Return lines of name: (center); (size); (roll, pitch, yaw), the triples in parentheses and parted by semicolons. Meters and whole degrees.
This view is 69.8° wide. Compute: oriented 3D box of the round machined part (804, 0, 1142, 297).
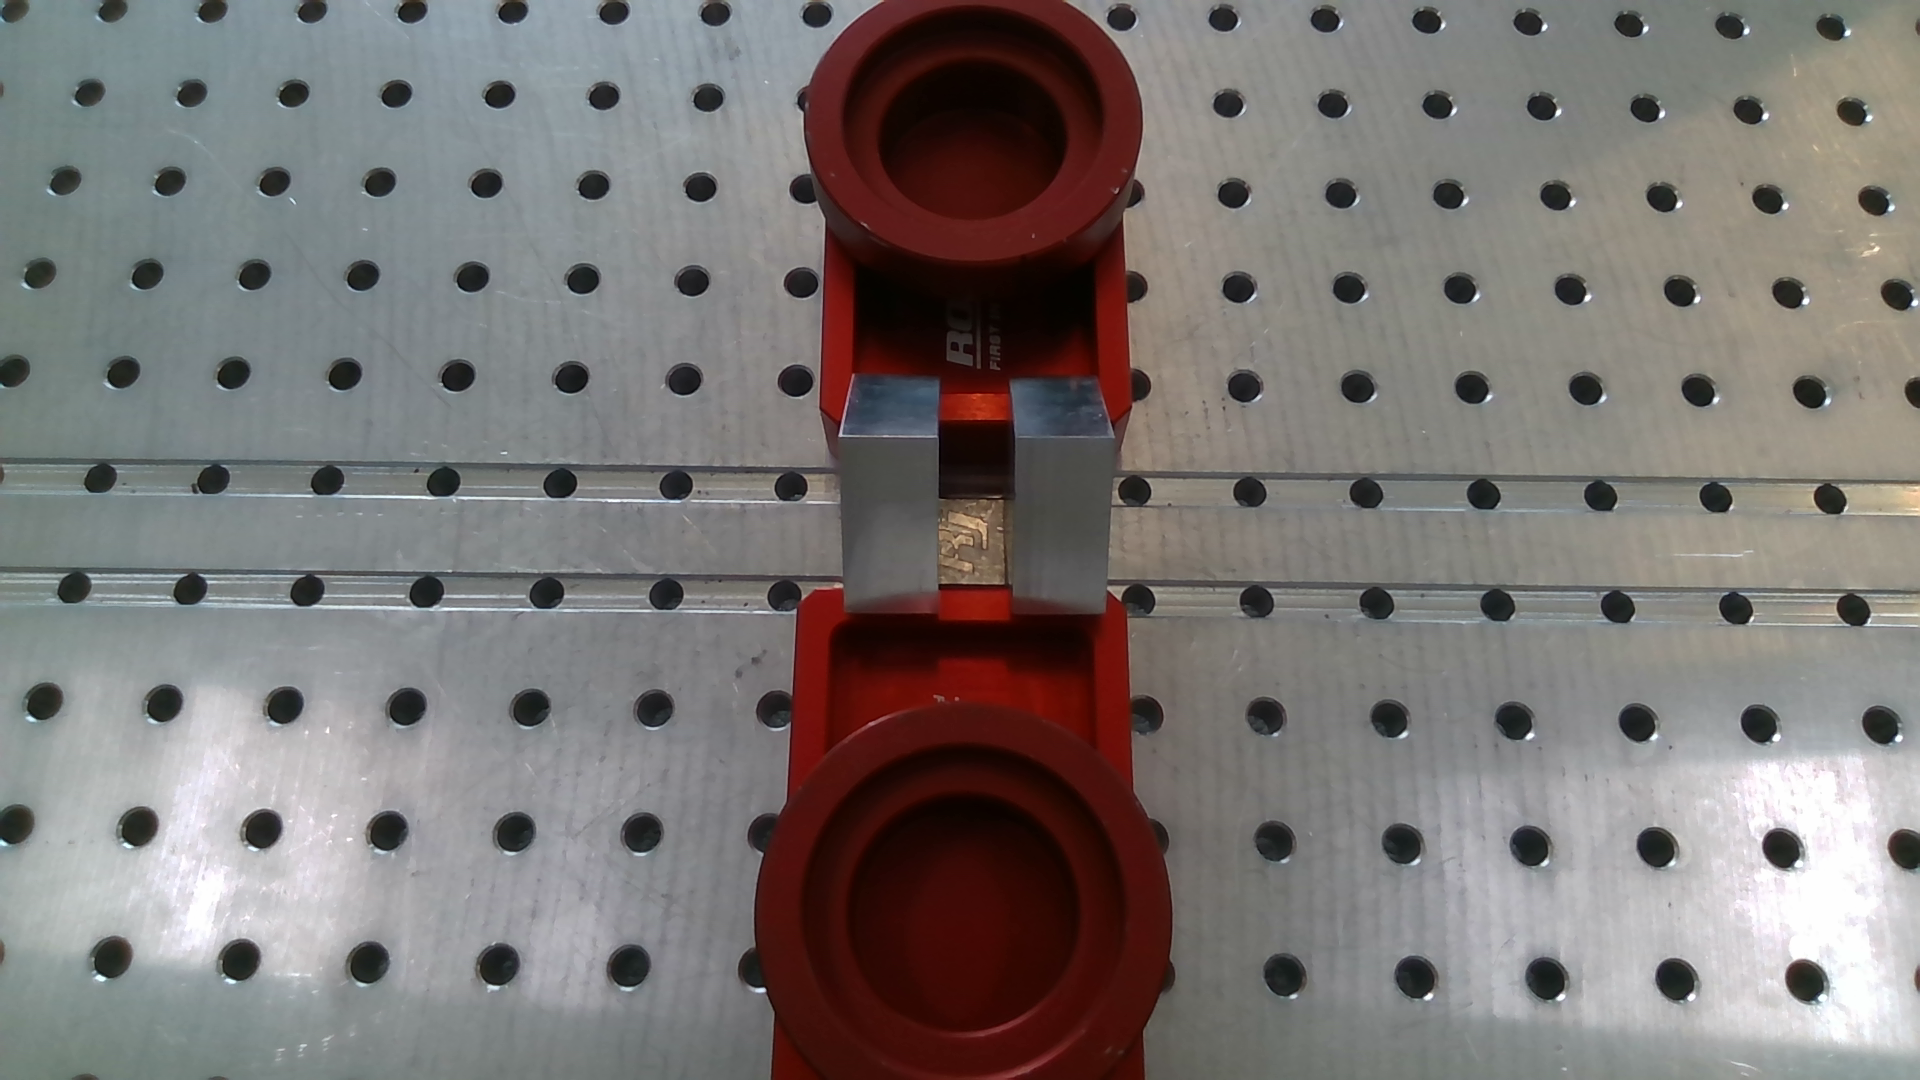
round machined part: (0.004, -0.116, 0.417); (0.098, 0.042, 0.098); (0, 70, 0)

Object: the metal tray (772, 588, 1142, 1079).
metal tray: (0.000, 0.079, 0.368); (0.090, 0.030, 0.130); (0, 71, 0)

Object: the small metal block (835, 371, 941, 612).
small metal block: (-0.018, -0.014, 0.374); (0.025, 0.050, 0.050); (1, 26, 0)

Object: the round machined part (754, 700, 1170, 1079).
round machined part: (0.001, 0.092, 0.343); (0.098, 0.042, 0.098); (0, 70, 0)

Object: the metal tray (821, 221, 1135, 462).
metal tray: (0.005, -0.090, 0.428); (0.090, 0.030, 0.130); (-1, 70, 2)

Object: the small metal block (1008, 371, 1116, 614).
small metal block: (0.026, -0.014, 0.375); (0.025, 0.050, 0.050); (1, 26, 0)
